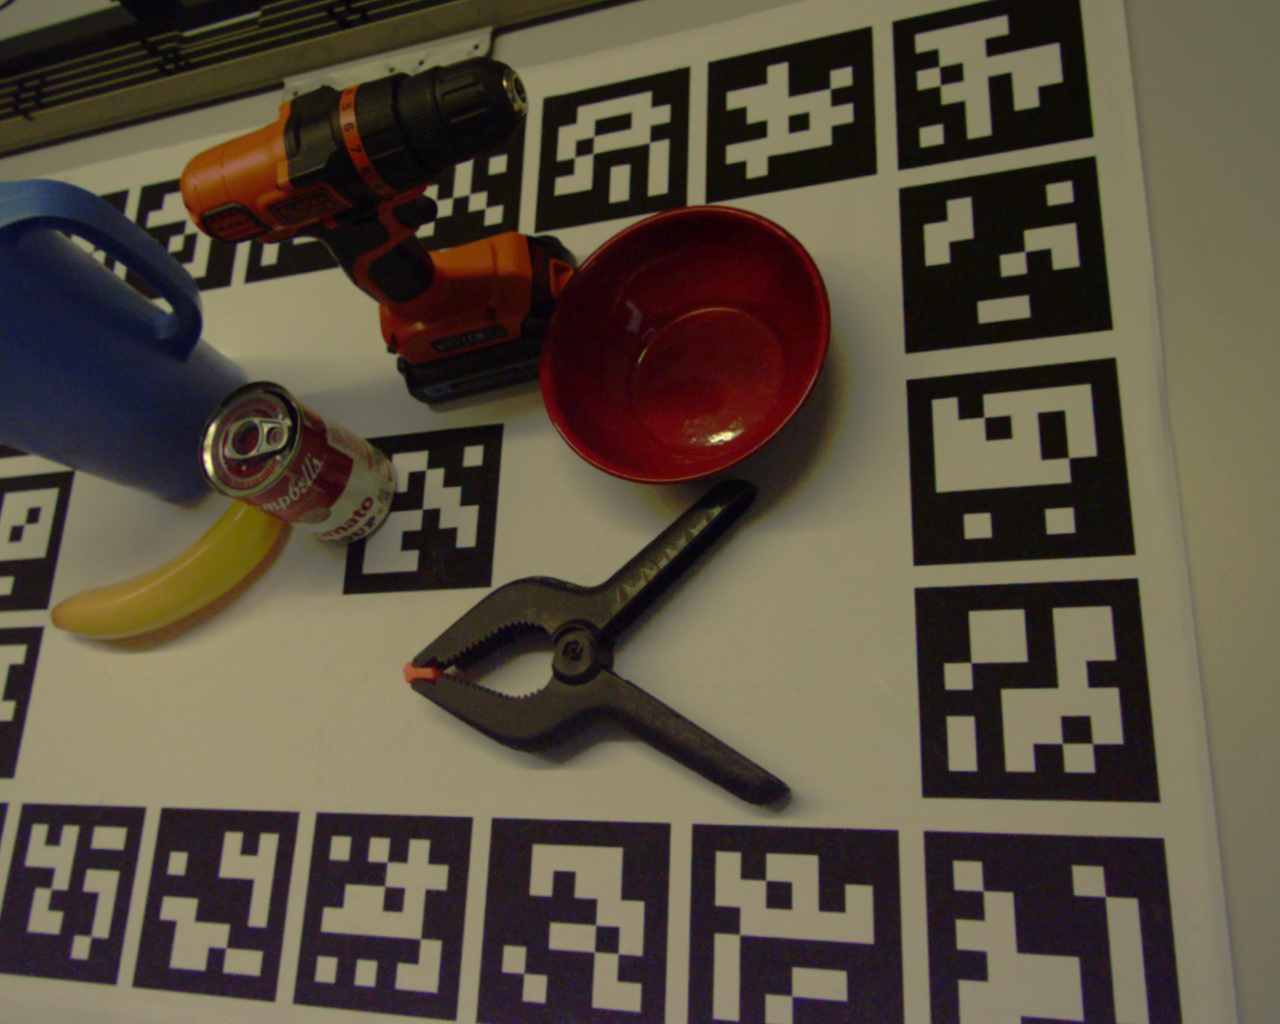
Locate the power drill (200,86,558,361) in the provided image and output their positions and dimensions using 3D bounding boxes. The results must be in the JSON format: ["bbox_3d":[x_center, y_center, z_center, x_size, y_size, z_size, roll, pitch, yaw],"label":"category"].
[{"bbox_3d":[-0.115,-0.153,0.629,0.186,0.185,0.057,-10,71,18],"label":"power drill"}]

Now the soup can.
[{"bbox_3d":[-0.206,-0.033,0.698,0.068,0.101,0.068,-10,62,18],"label":"soup can"}]

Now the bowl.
[{"bbox_3d":[0.015,-0.083,0.648,0.163,0.054,0.162,-6,73,20],"label":"bowl"}]

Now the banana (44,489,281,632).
[{"bbox_3d":[-0.313,0.034,0.756,0.198,0.038,0.075,-29,57,10],"label":"banana"}]

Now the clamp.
[{"bbox_3d":[-0.042,0.074,0.626,0.204,0.036,0.166,-8,75,20],"label":"clamp"}]

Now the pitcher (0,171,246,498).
[{"bbox_3d":[-0.343,-0.102,0.695,0.189,0.240,0.134,-28,63,11],"label":"pitcher"}]
